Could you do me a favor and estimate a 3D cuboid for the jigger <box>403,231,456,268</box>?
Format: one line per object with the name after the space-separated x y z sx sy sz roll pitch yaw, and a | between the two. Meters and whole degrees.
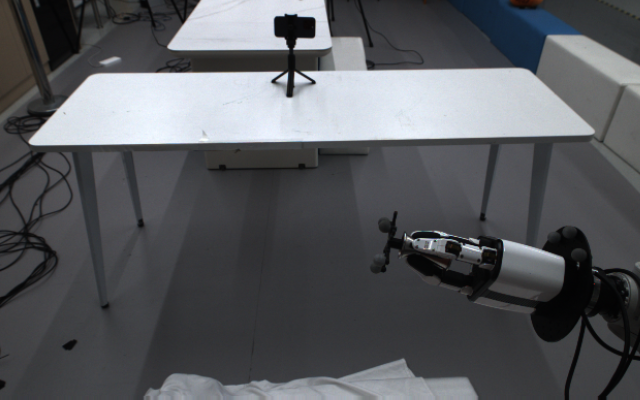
0.153 0.066 0.672 0.071 0.043 0.043 13 36 3 | jigger
